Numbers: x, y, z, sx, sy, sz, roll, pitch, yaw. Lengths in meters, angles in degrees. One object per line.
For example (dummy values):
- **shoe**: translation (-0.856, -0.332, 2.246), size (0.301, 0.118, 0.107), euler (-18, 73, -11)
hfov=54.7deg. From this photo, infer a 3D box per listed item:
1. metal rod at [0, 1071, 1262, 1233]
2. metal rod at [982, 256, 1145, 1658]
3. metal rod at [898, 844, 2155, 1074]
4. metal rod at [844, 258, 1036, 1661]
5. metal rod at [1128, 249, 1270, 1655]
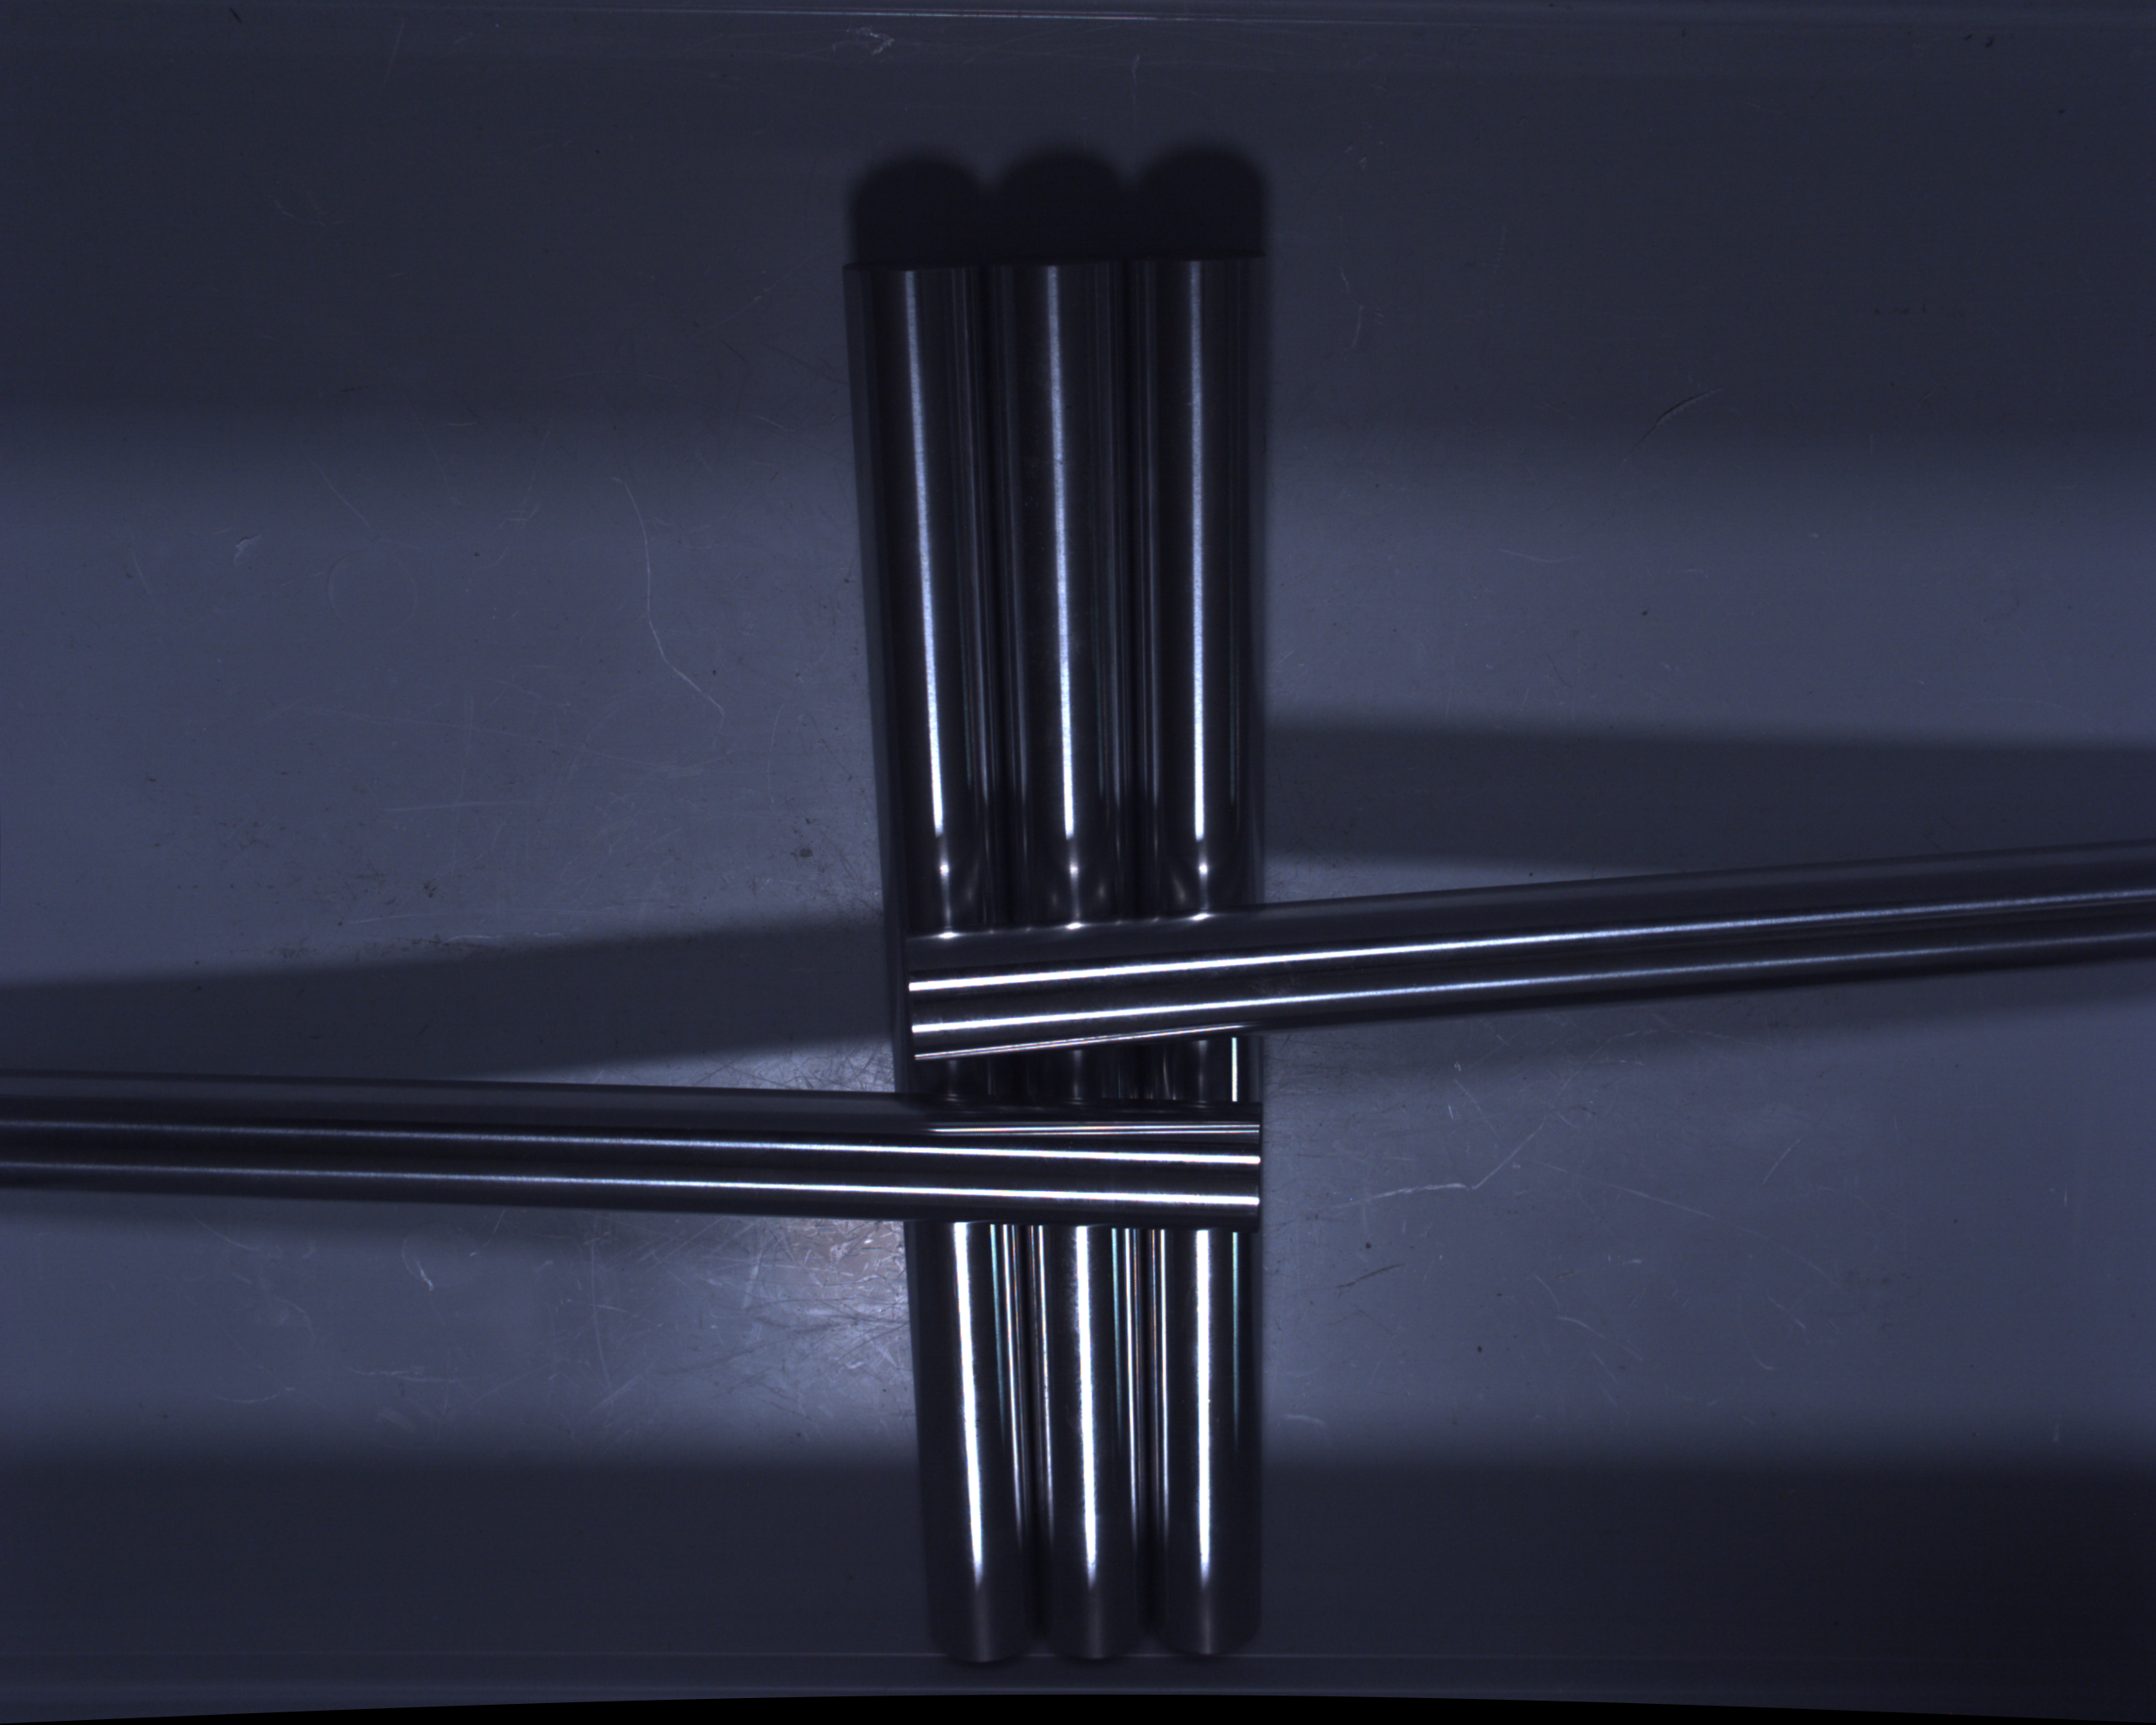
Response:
- **metal rod**: translation (-0.115, 0.056, 0.412), size (0.302, 0.025, 0.025), euler (1, 110, 5)
- **metal rod**: translation (-0.001, 0.032, 0.422), size (0.025, 0.025, 0.298), euler (-1, 110, 0)
- **metal rod**: translation (0.118, 0.016, 0.399), size (0.302, 0.025, 0.025), euler (-4, 110, -6)
- **metal rod**: translation (-0.025, 0.033, 0.422), size (0.025, 0.025, 0.298), euler (-1, 110, 0)
- **metal rod**: translation (0.025, 0.032, 0.422), size (0.025, 0.025, 0.298), euler (-1, 110, 0)
